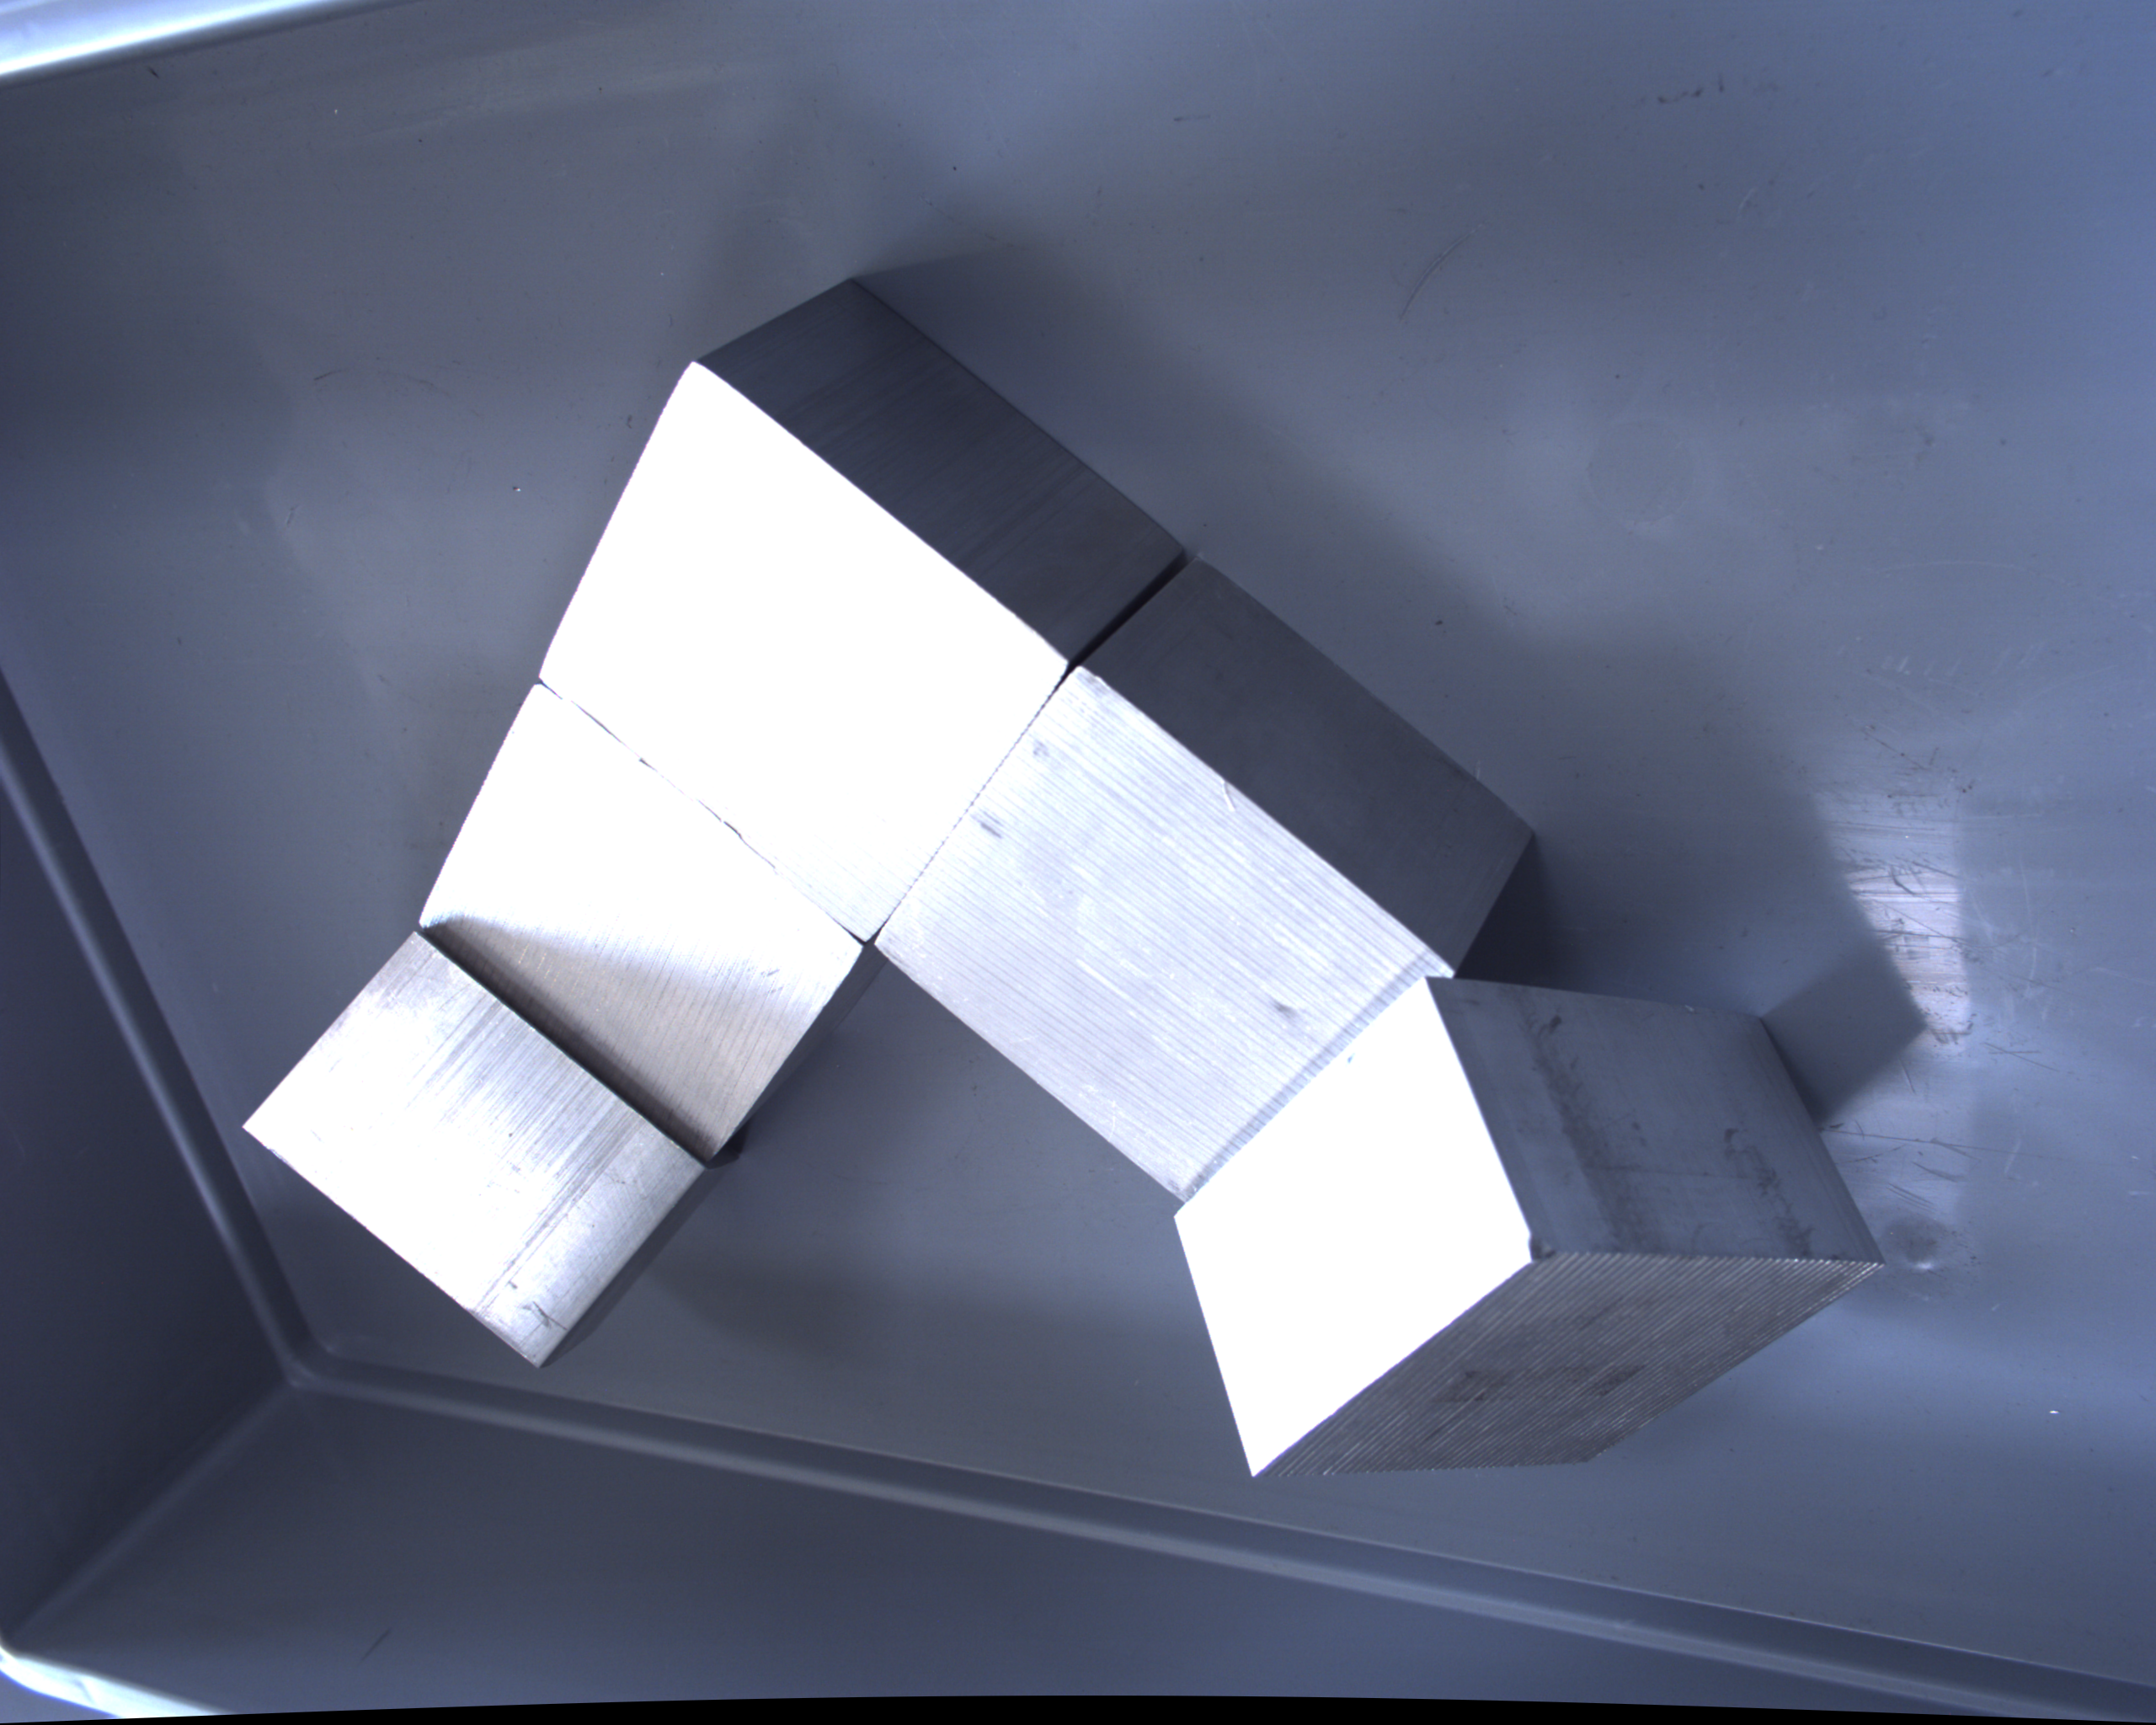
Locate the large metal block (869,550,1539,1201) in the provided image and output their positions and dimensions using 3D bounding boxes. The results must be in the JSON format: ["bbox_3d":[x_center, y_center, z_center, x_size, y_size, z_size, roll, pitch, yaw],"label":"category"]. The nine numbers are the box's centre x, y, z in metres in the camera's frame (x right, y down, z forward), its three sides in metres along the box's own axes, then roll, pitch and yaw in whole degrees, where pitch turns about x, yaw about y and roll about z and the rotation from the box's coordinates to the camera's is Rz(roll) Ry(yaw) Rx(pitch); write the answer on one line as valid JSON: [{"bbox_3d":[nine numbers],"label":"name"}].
[{"bbox_3d":[0.022,0.005,0.381,0.080,0.050,0.080,39,129,1],"label":"large metal block"}]

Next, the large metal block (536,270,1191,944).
[{"bbox_3d":[-0.040,-0.046,0.383,0.080,0.050,0.080,39,129,1],"label":"large metal block"}]

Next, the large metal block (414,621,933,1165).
[{"bbox_3d":[-0.079,0.002,0.434,0.080,0.050,0.080,39,129,1],"label":"large metal block"}]

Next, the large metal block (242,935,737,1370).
[{"bbox_3d":[-0.127,0.064,0.469,0.080,0.050,0.080,39,172,1],"label":"large metal block"}]

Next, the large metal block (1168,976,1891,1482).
[{"bbox_3d":[0.076,0.067,0.364,0.081,0.050,0.080,9,138,-31],"label":"large metal block"}]
